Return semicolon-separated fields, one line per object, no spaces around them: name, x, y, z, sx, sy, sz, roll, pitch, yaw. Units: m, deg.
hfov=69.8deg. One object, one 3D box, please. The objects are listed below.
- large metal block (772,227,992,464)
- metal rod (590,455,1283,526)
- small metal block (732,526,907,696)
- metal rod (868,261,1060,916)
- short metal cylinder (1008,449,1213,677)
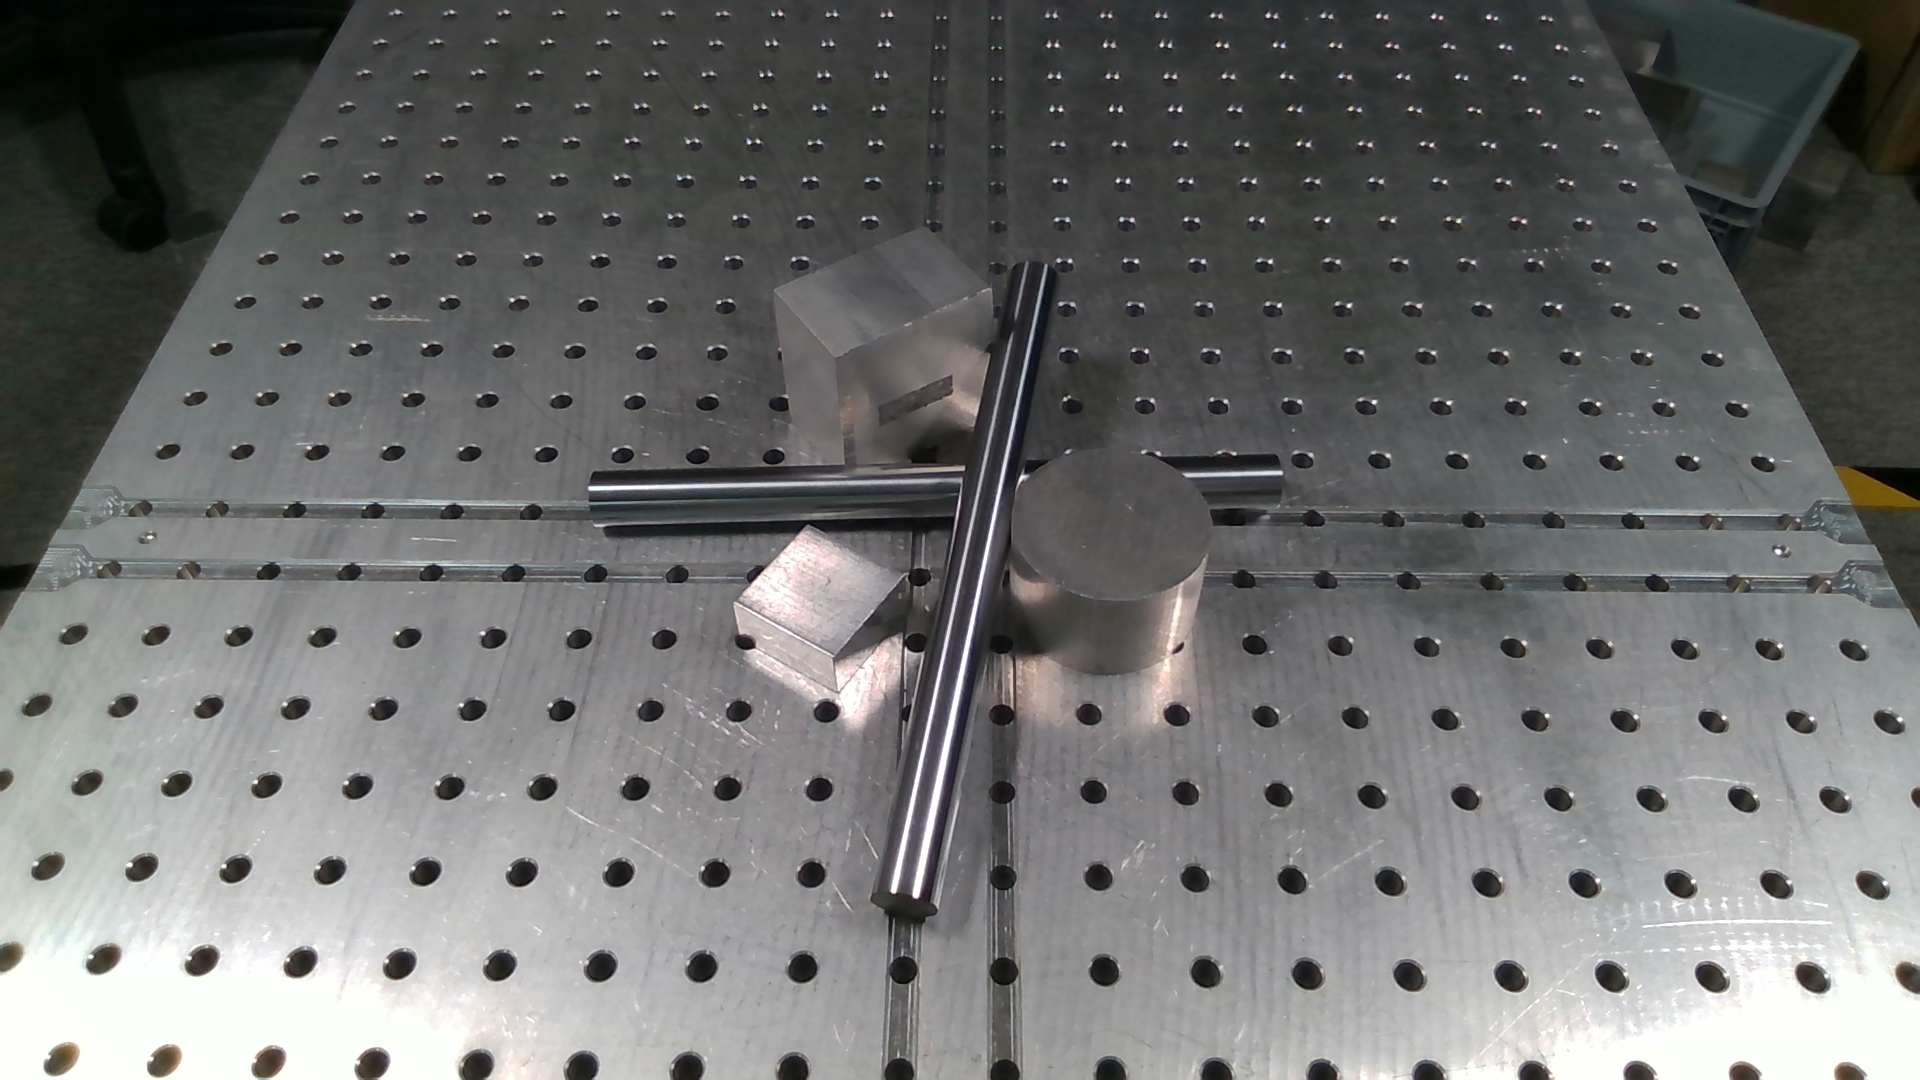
large metal block;-0.033;-0.082;0.621;0.080;0.080;0.050;-28;56;-21
metal rod;-0.010;-0.022;0.608;0.300;0.025;0.025;-1;50;-1
small metal block;-0.057;0.029;0.567;0.050;0.025;0.050;27;55;20
metal rod;0.007;0.003;0.563;0.025;0.025;0.299;8;58;7
short metal cylinder;0.060;0.009;0.566;0.080;0.050;0.080;0;50;0
